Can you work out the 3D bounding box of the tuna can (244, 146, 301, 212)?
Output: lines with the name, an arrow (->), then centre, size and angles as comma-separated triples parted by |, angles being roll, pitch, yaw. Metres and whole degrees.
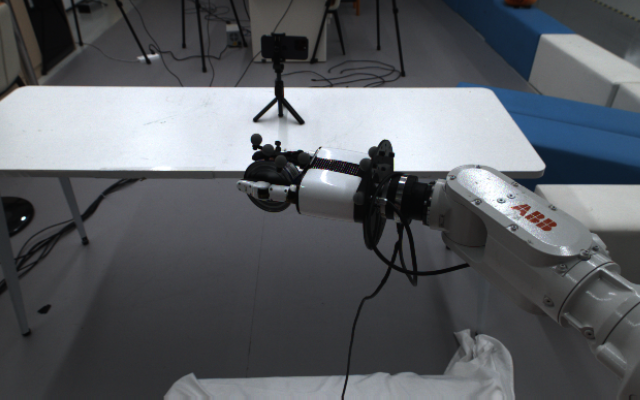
tuna can -> -0.070, -0.027, 0.737 | 0.085, 0.085, 0.034 | 16, 29, 19
